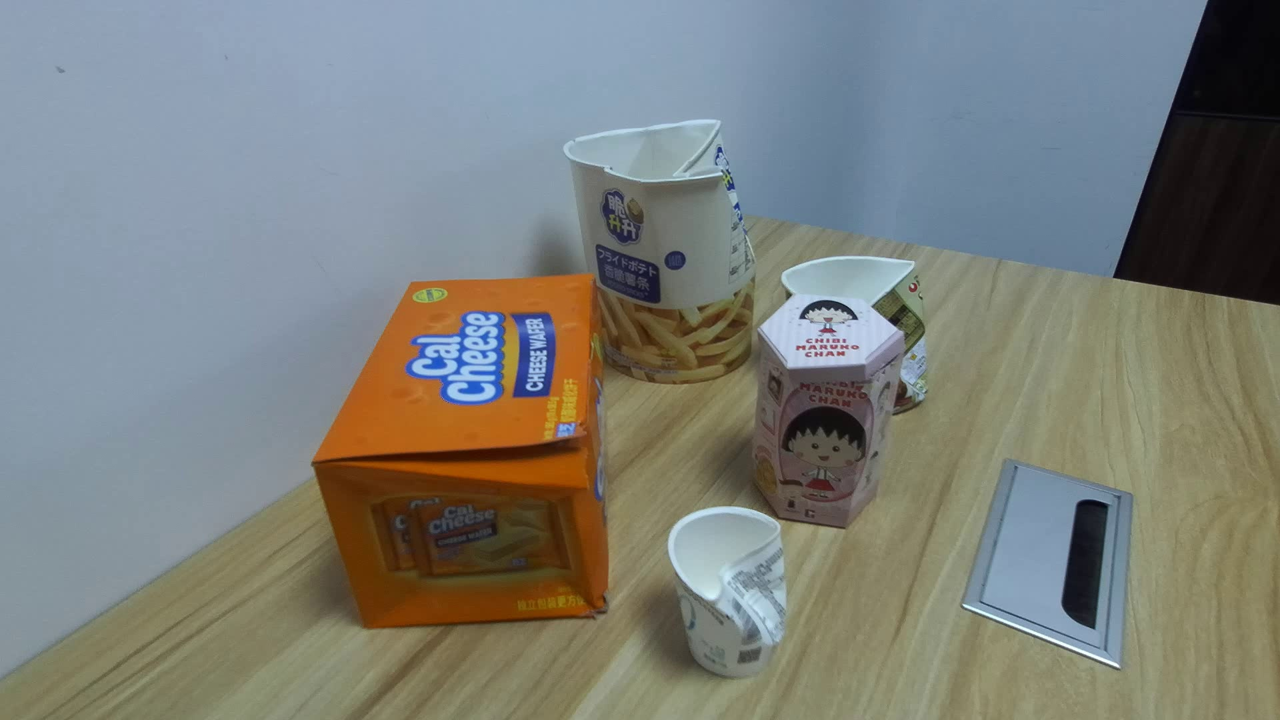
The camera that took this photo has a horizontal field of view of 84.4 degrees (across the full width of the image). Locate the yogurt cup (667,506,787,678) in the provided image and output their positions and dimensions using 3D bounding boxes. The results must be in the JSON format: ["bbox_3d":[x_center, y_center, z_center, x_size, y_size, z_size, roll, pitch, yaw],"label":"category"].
[{"bbox_3d":[0.049,0.129,0.389,0.067,0.070,0.067,-3,32,2],"label":"yogurt cup"}]

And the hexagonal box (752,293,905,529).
[{"bbox_3d":[0.123,0.034,0.477,0.092,0.135,0.085,6,32,14],"label":"hexagonal box"}]

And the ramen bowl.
[{"bbox_3d":[0.190,-0.025,0.611,0.137,0.098,0.137,0,30,0],"label":"ramen bowl"}]

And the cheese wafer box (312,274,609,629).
[{"bbox_3d":[-0.098,0.046,0.476,0.150,0.137,0.226,-2,31,-1],"label":"cheese wafer box"}]

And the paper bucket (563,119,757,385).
[{"bbox_3d":[0.035,-0.093,0.634,0.169,0.202,0.162,-16,35,-17],"label":"paper bucket"}]
